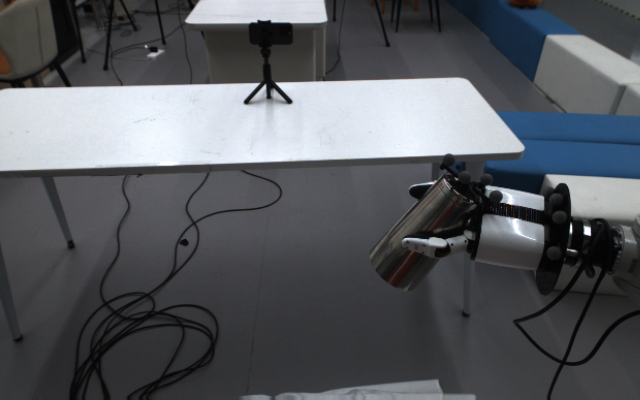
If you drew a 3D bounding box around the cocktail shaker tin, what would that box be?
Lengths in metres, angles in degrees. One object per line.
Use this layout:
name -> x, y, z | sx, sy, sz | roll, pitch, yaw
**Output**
cocktail shaker tin -> 0.158, 0.039, 0.715 | 0.093, 0.170, 0.093 | 26, 32, -17
